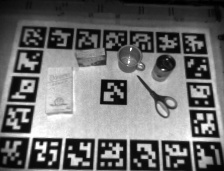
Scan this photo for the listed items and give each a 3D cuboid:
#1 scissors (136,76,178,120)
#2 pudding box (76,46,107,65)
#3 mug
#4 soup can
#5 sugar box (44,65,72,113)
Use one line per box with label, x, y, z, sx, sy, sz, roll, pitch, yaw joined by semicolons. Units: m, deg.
scissors;0.163;0.035;0.823;0.088;0.016;0.202;-41;79;-3
pudding box;-0.074;-0.113;0.819;0.114;0.090;0.038;-7;79;-4
mug;0.075;-0.107;0.831;0.093;0.082;0.116;-34;75;-8
soup can;0.189;-0.066;0.820;0.068;0.102;0.067;0;71;0
sugar box;-0.199;0.013;0.806;0.093;0.045;0.176;-1;74;0
